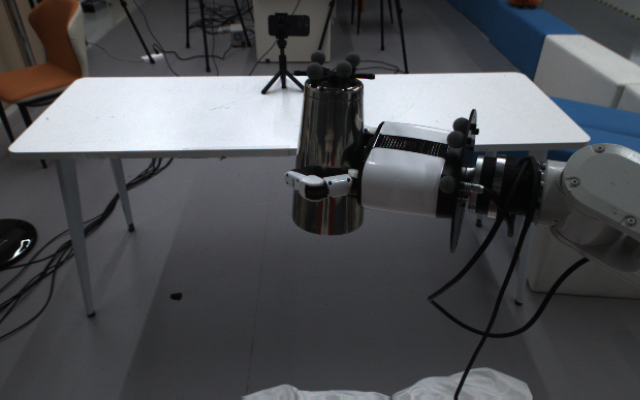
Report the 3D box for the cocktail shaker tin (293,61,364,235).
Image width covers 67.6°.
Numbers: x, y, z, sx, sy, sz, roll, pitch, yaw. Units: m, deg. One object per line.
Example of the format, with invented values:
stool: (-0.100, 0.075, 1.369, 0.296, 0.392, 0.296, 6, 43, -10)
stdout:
cocktail shaker tin: (0.015, -0.055, 0.575, 0.093, 0.170, 0.093, 2, 28, -1)
